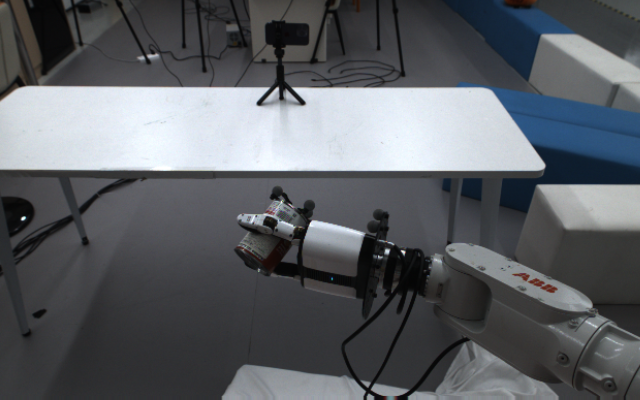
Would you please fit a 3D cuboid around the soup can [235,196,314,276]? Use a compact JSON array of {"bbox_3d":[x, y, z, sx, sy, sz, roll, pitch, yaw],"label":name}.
[{"bbox_3d":[-0.074,0.058,0.743,0.067,0.067,0.101,25,66,30],"label":"soup can"}]
